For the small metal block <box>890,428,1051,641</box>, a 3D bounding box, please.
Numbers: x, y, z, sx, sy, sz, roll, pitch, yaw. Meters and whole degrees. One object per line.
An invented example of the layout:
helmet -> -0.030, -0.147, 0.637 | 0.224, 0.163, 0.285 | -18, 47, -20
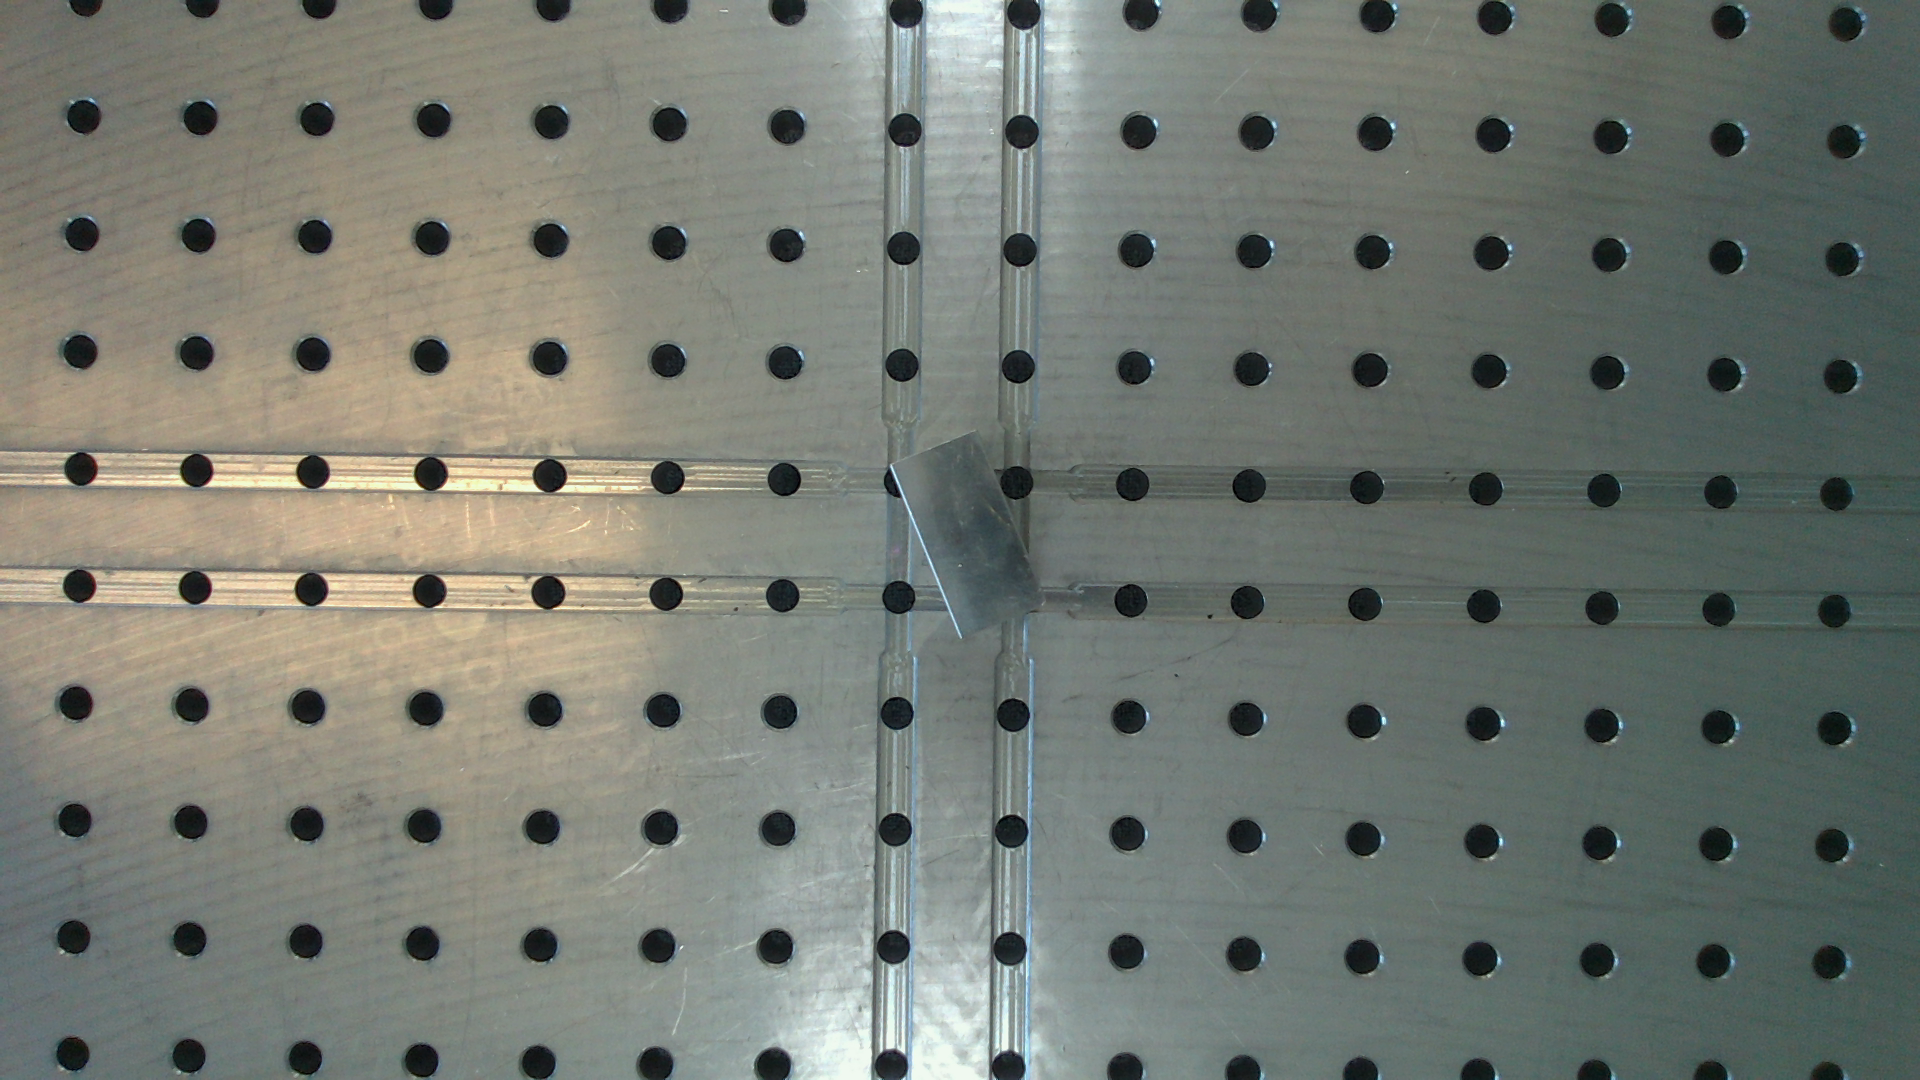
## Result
small metal block -> 0.003, -0.002, 0.385 | 0.025, 0.050, 0.050 | -22, 91, 0
